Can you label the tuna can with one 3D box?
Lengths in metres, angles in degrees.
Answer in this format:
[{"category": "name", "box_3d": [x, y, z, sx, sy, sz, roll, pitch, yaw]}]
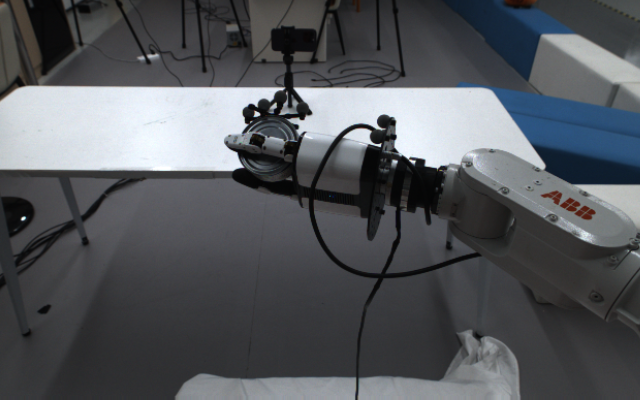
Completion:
[{"category": "tuna can", "box_3d": [-0.066, -0.070, 0.653, 0.085, 0.034, 0.085, -5, 70, 14]}]
